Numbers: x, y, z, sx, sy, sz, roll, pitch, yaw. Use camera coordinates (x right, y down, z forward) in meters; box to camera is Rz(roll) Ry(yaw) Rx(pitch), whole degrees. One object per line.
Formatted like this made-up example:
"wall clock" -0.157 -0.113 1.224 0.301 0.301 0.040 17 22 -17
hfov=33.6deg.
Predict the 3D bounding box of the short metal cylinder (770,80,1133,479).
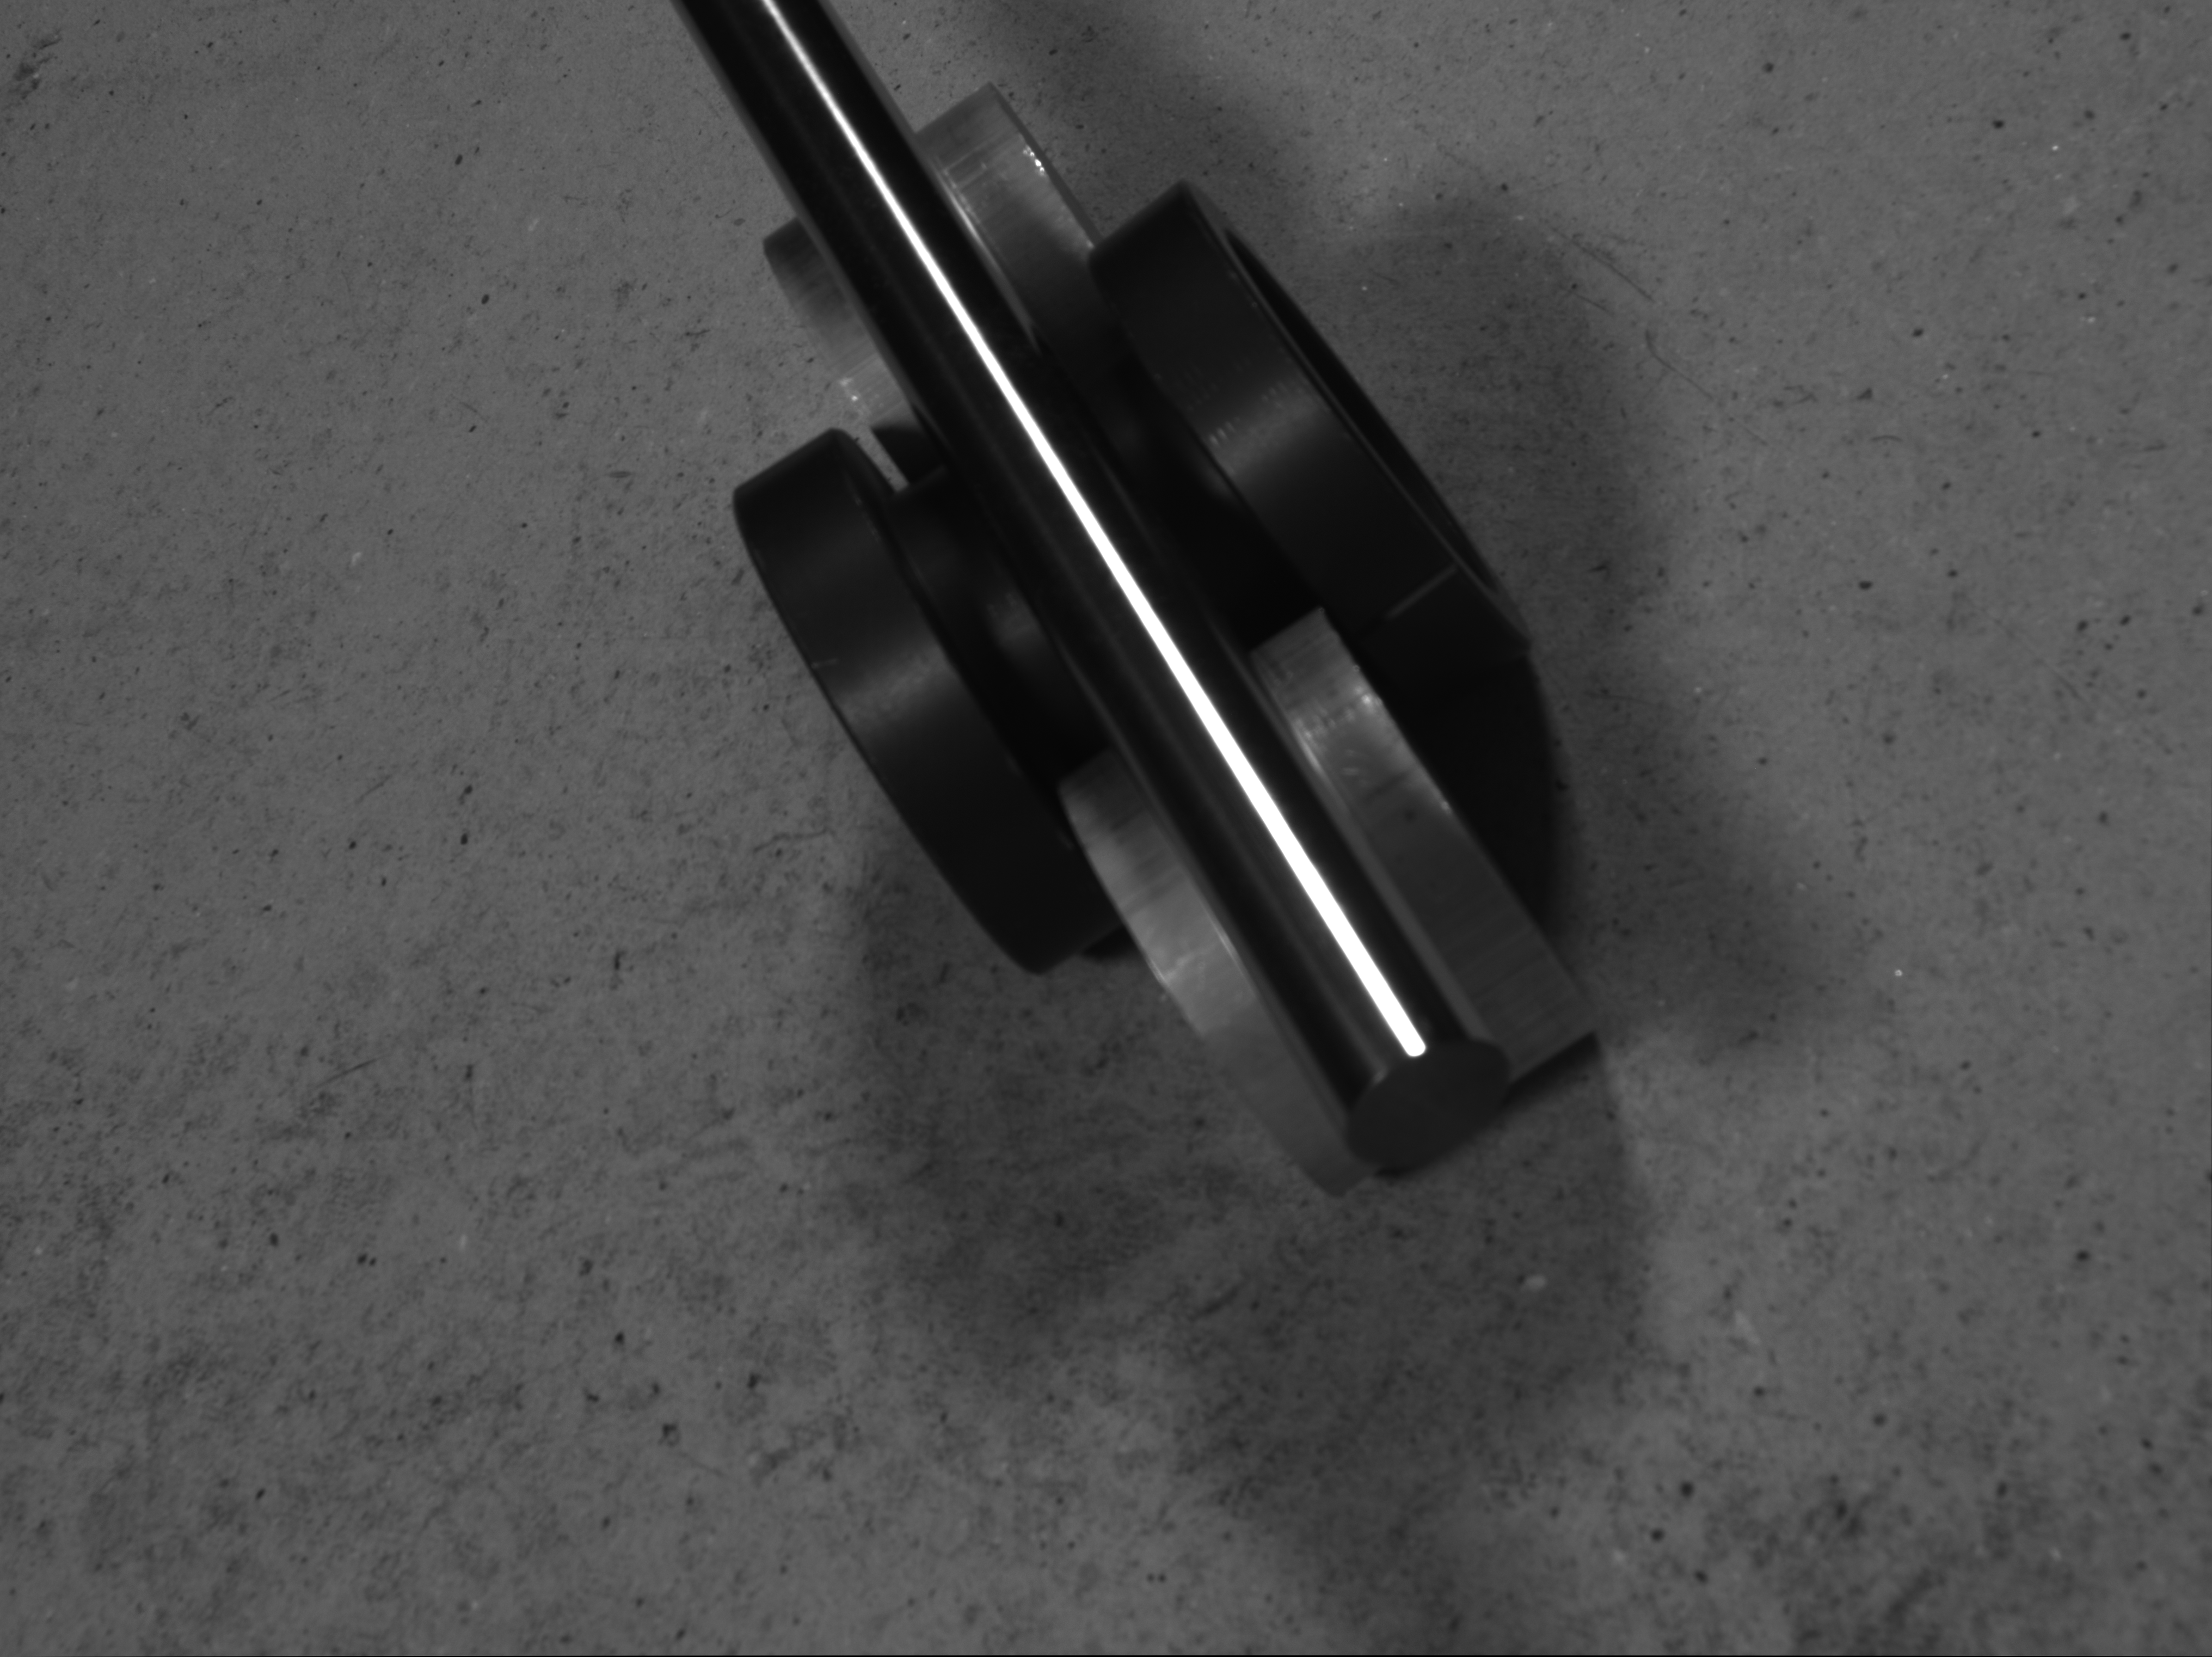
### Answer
"short metal cylinder" -0.018 -0.090 0.674 0.050 0.080 0.080 -34 51 6

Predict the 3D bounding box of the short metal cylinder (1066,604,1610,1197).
"short metal cylinder" 0.037 0.011 0.582 0.050 0.080 0.080 -34 51 6

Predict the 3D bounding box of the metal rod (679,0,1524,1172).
"metal rod" -0.013 -0.063 0.588 0.025 0.025 0.299 -34 51 6

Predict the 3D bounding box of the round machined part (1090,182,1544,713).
"round machined part" 0.028 -0.057 0.618 0.042 0.098 0.098 -37 51 10

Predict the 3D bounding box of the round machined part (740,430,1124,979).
"round machined part" -0.019 -0.027 0.622 0.042 0.098 0.098 -31 51 3
